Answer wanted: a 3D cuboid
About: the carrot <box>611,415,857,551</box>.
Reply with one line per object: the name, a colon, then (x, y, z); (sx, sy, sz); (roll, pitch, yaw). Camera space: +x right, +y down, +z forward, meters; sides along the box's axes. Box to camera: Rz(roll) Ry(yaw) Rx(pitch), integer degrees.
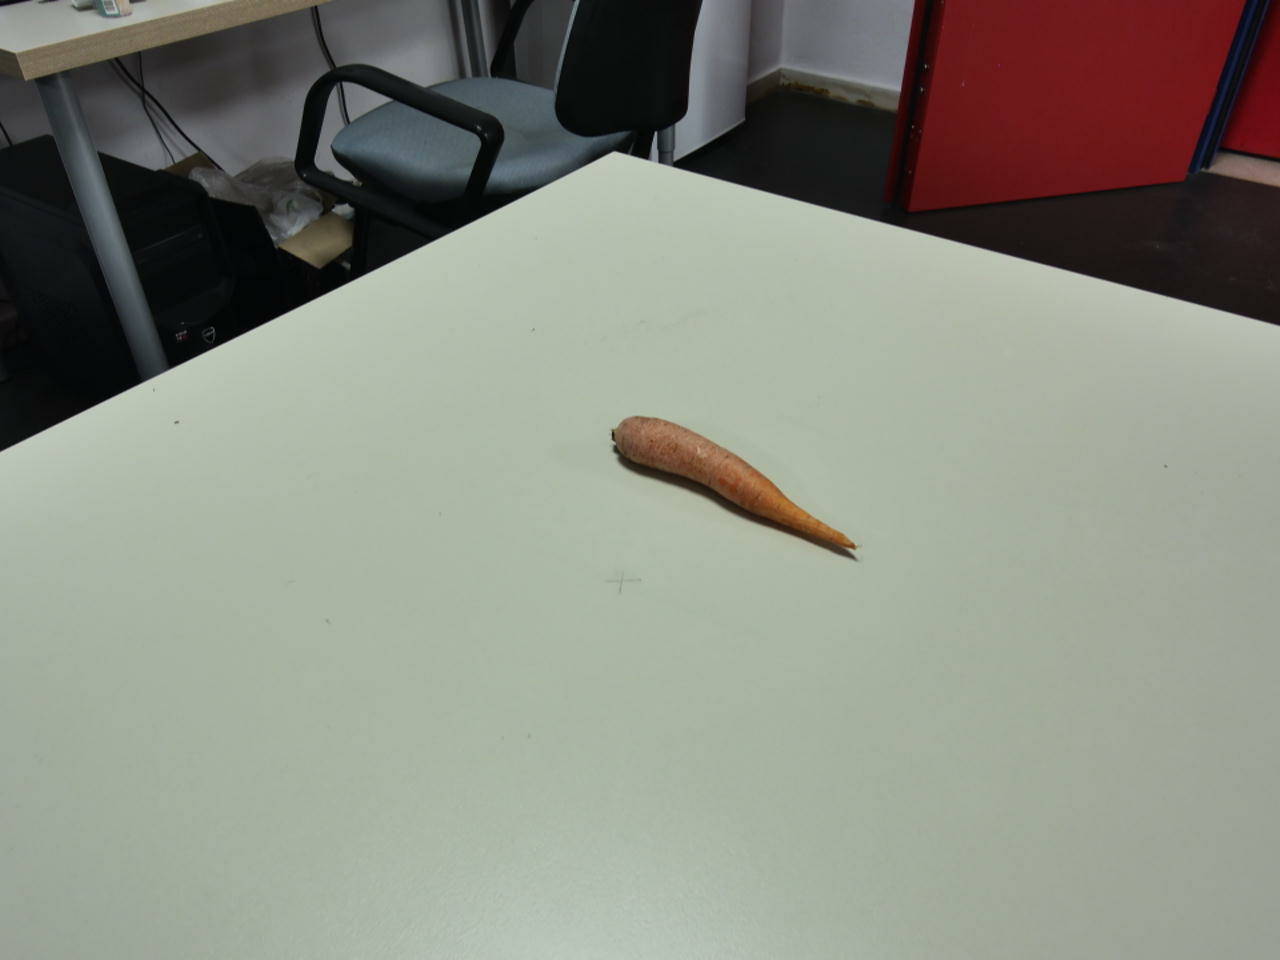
carrot: (0.049, -0.002, 0.549); (0.163, 0.029, 0.031); (25, 44, 29)
